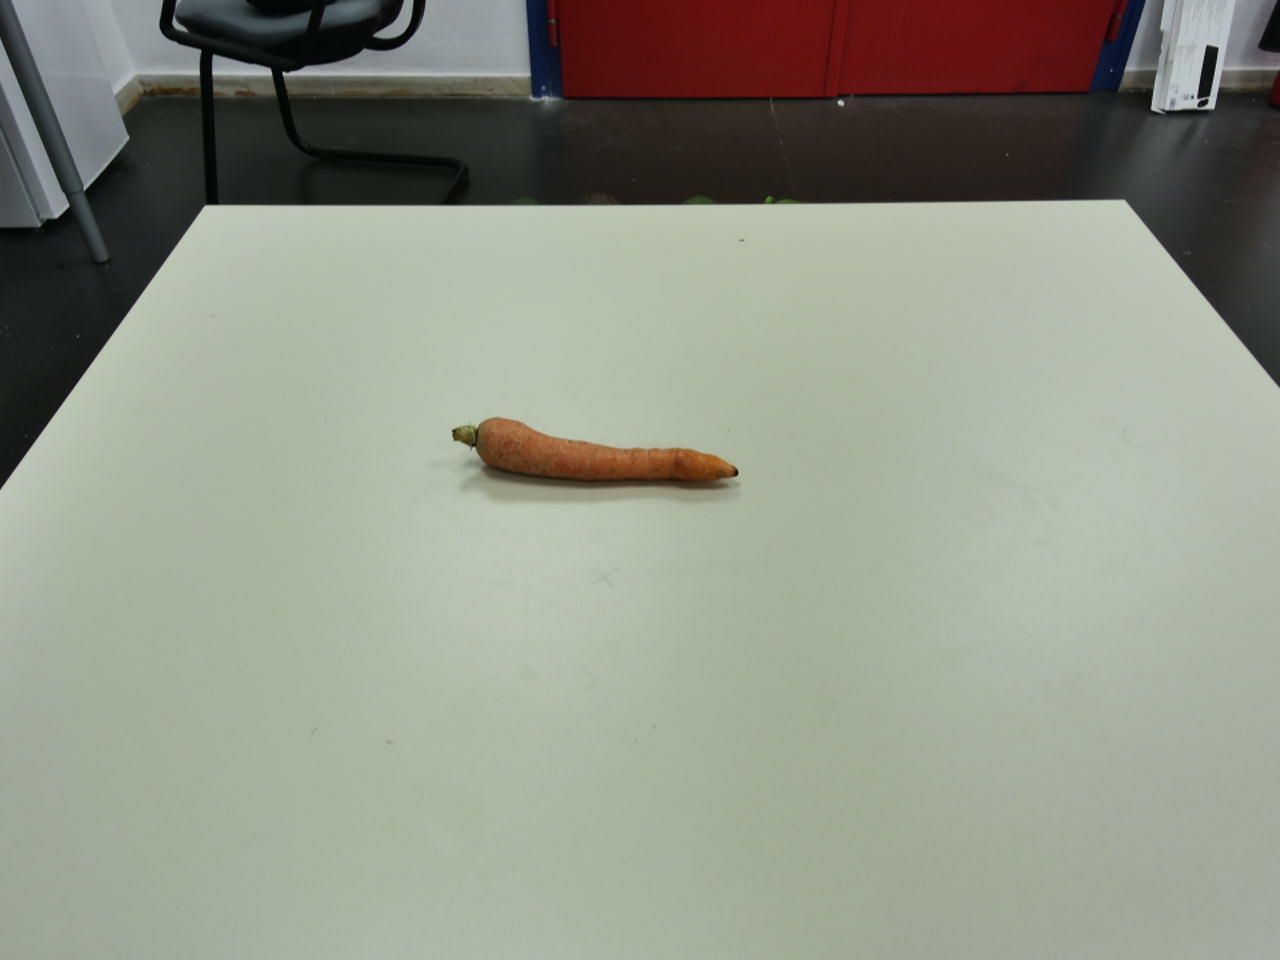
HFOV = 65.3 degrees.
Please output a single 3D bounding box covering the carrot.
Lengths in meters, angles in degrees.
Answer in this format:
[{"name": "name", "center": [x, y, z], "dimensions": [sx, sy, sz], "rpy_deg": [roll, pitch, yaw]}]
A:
[{"name": "carrot", "center": [-0.027, -0.015, 0.598], "dimensions": [0.173, 0.032, 0.030], "rpy_deg": [6, 40, 7]}]
